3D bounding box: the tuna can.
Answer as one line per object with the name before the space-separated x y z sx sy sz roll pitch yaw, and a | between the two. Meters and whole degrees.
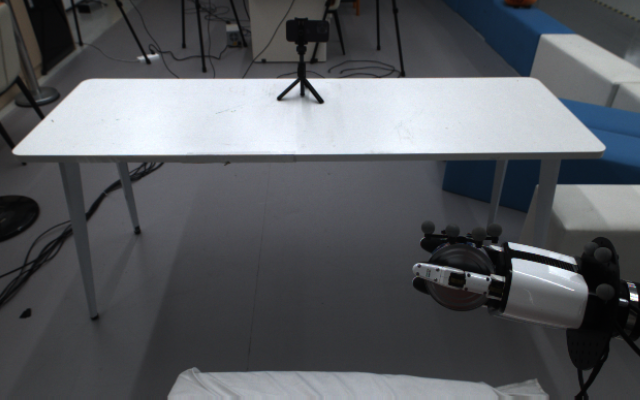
tuna can | 0.177 0.092 0.608 0.085 0.085 0.034 13 6 15
